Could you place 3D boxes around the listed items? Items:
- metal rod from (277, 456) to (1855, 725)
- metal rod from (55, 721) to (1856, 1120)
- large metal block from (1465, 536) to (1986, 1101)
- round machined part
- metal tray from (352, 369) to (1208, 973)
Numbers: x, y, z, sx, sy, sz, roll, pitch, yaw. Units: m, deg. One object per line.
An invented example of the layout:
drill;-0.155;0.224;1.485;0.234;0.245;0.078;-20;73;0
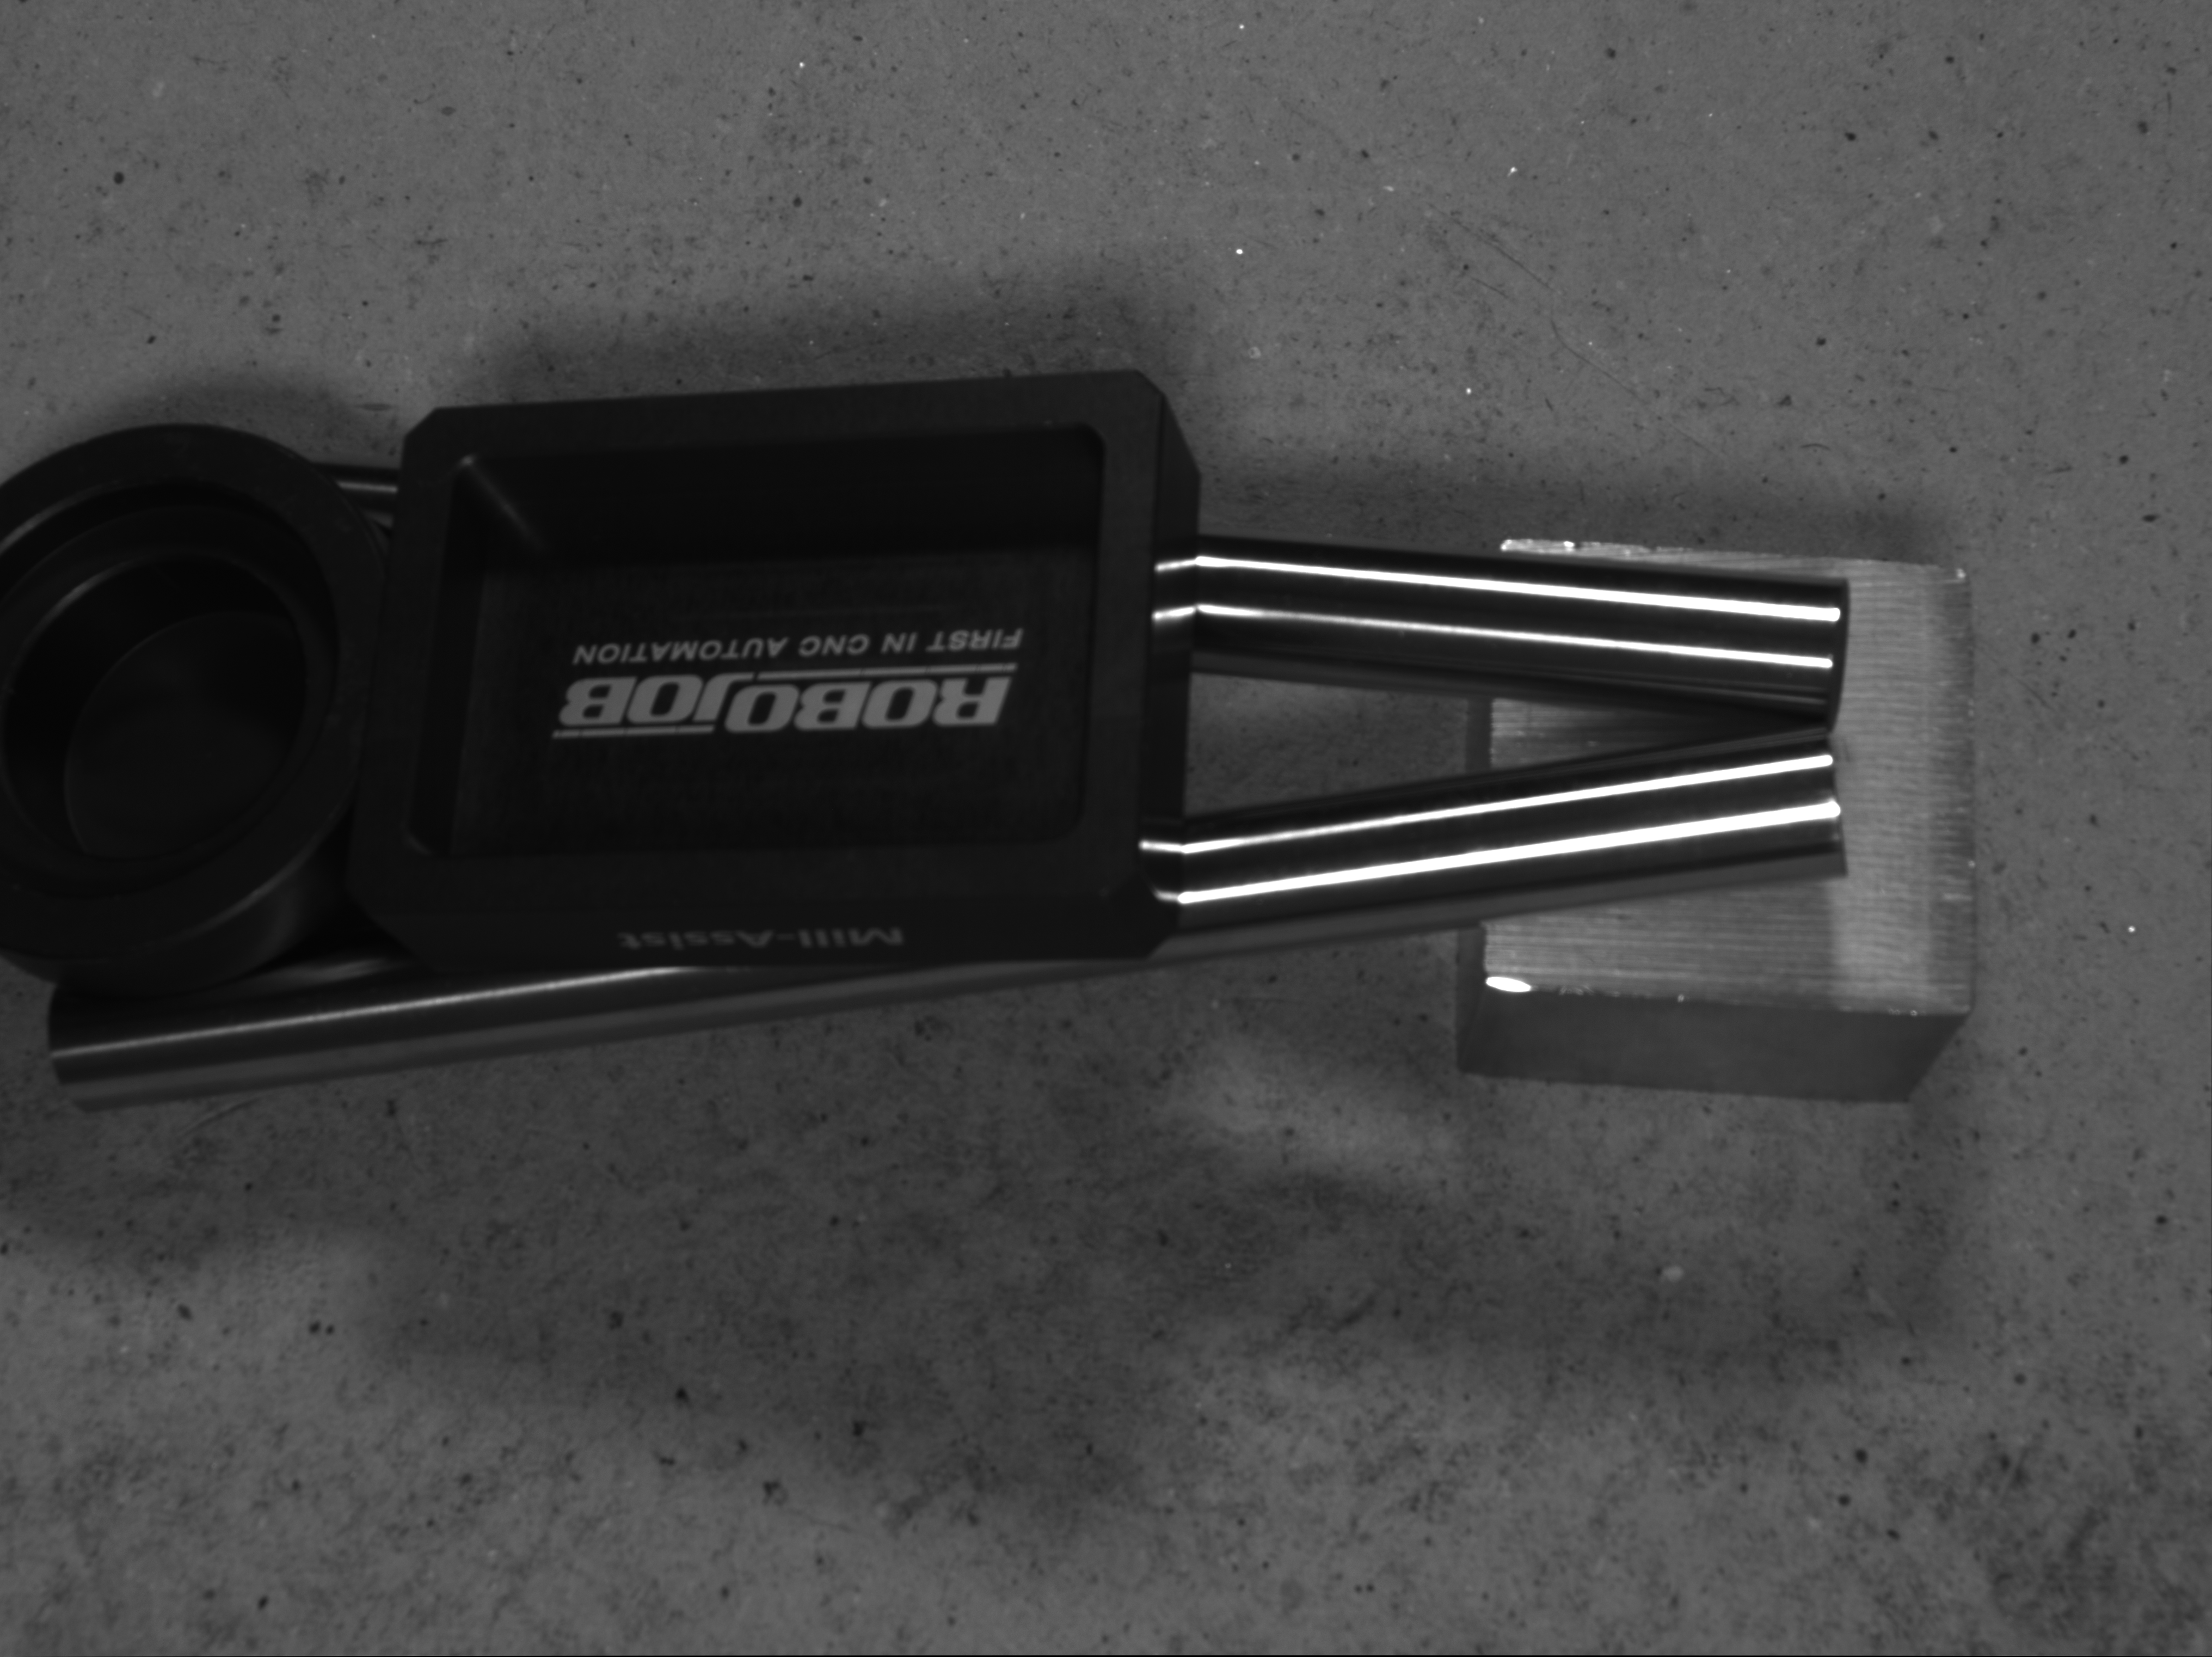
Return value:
metal rod;-0.025;-0.043;0.626;0.300;0.025;0.025;6;69;16
metal rod;-0.029;0.017;0.605;0.300;0.025;0.025;-8;69;10
large metal block;0.105;-0.001;0.631;0.080;0.050;0.080;4;70;1
round machined part;-0.159;-0.017;0.636;0.098;0.042;0.098;-4;69;10
metal tray;-0.052;-0.025;0.596;0.130;0.030;0.090;-2;69;13
